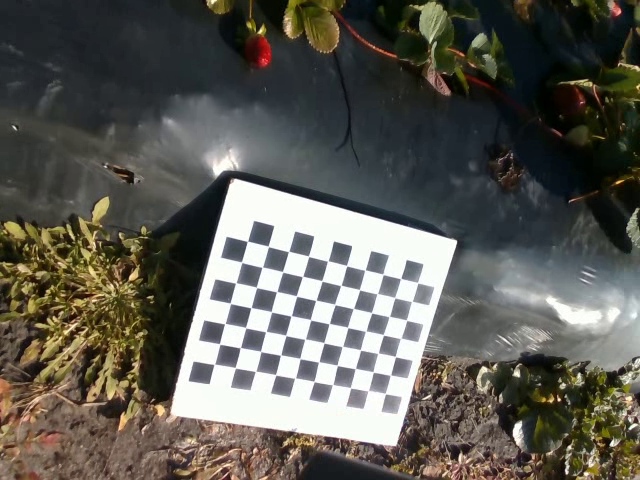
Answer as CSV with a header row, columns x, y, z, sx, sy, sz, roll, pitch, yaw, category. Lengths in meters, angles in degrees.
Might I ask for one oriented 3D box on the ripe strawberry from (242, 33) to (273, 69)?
x,y,z,sx,sy,sz,roll,pitch,yaw,category
-0.058,-0.165,0.541,0.028,0.031,0.041,-12,47,-14,ripe strawberry
